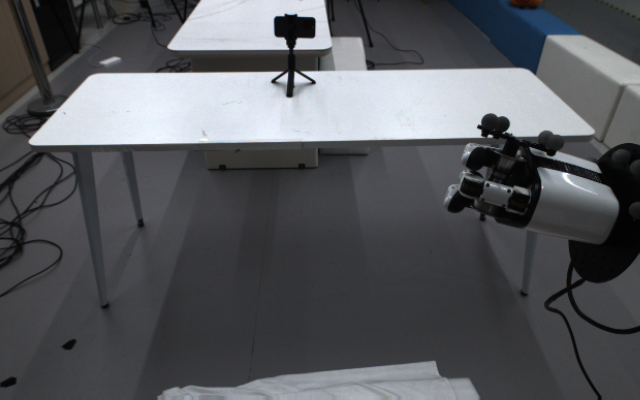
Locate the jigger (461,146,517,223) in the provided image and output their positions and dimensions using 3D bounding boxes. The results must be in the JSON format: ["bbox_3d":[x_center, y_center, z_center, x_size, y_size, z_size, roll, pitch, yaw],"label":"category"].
[{"bbox_3d":[0.201,-0.020,0.547,0.043,0.071,0.043,15,17,-5],"label":"jigger"}]
